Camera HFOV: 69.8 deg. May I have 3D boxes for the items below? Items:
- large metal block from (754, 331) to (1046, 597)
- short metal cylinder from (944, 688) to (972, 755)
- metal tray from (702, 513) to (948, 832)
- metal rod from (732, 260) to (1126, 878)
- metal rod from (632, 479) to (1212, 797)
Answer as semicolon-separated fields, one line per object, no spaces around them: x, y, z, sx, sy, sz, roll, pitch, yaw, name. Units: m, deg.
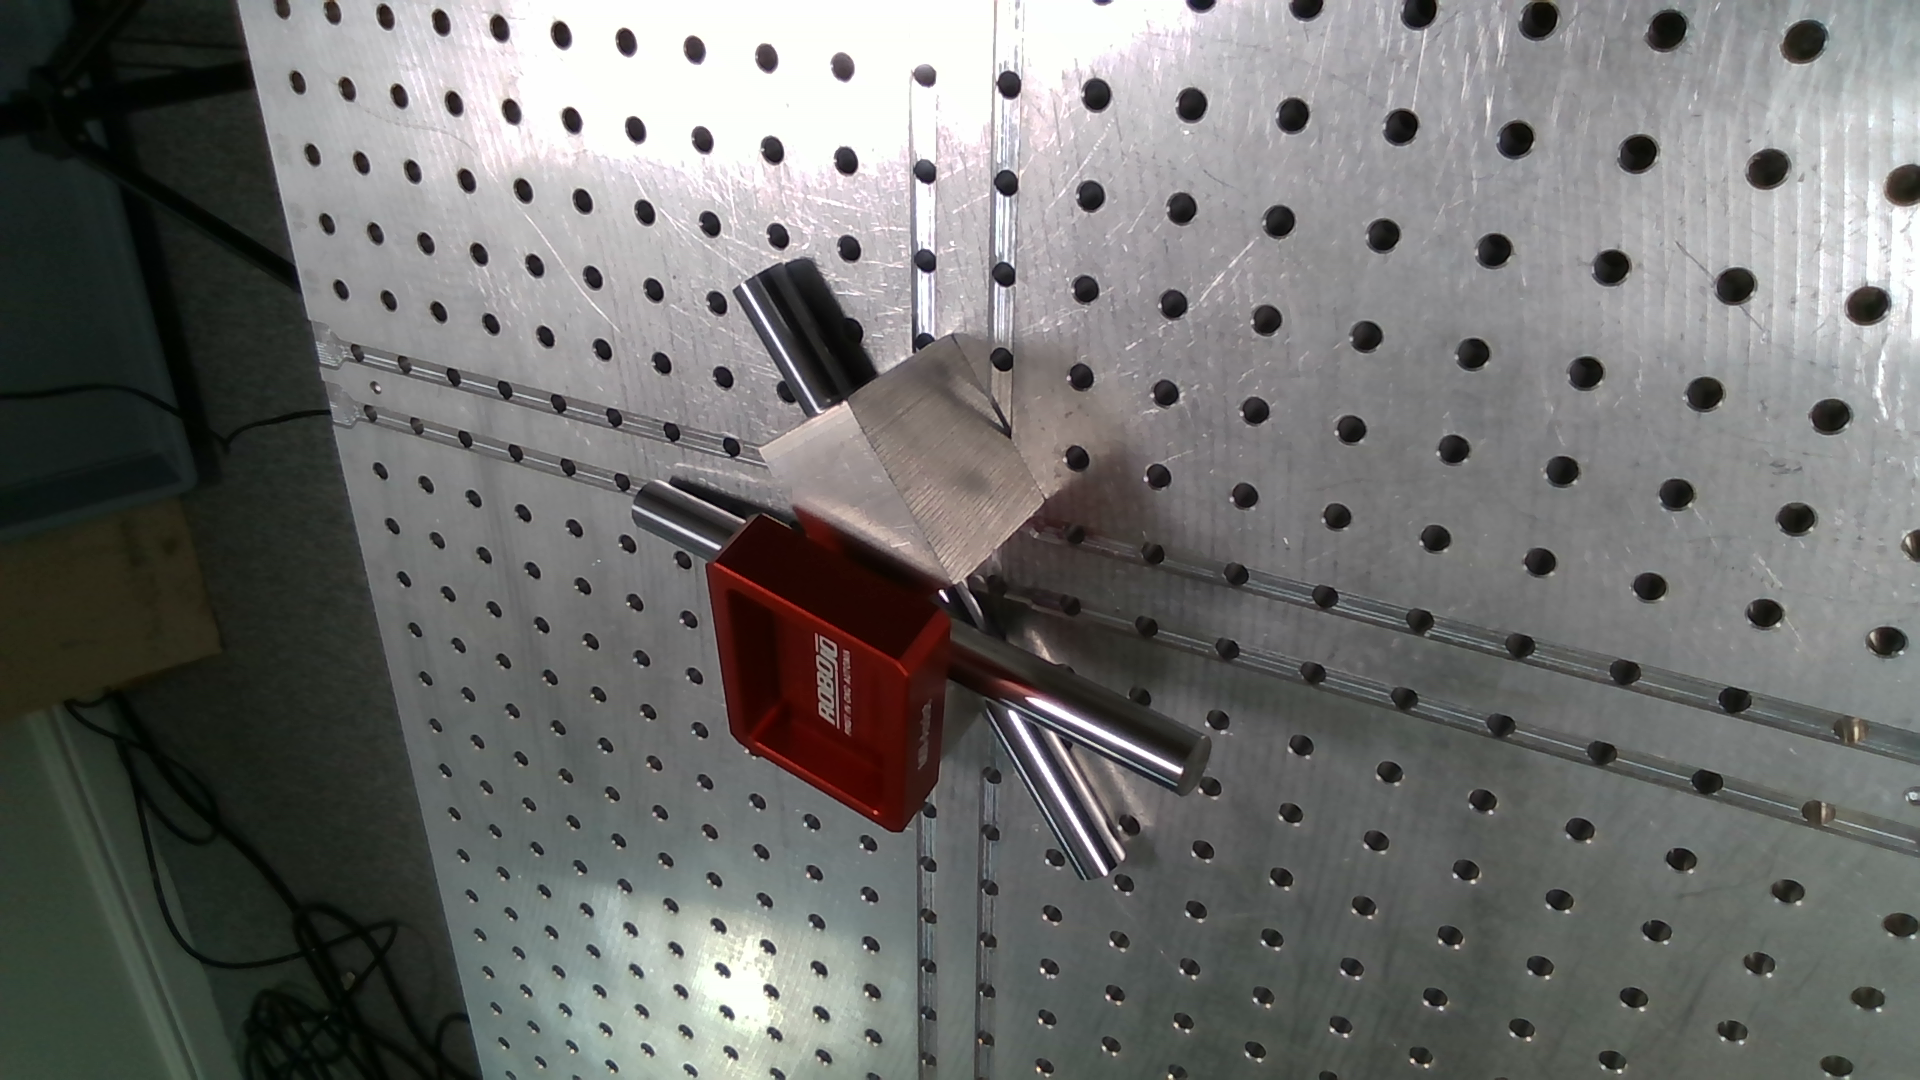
-0.022;-0.026;0.546;0.050;0.080;0.080;-23;102;38;large metal block
-0.038;0.073;0.628;0.080;0.050;0.080;14;122;25;short metal cylinder
-0.053;0.057;0.552;0.090;0.030;0.130;27;145;17;metal tray
-0.010;0.018;0.599;0.025;0.025;0.300;-23;102;38;metal rod
-0.031;0.034;0.591;0.300;0.025;0.025;23;126;30;metal rod
